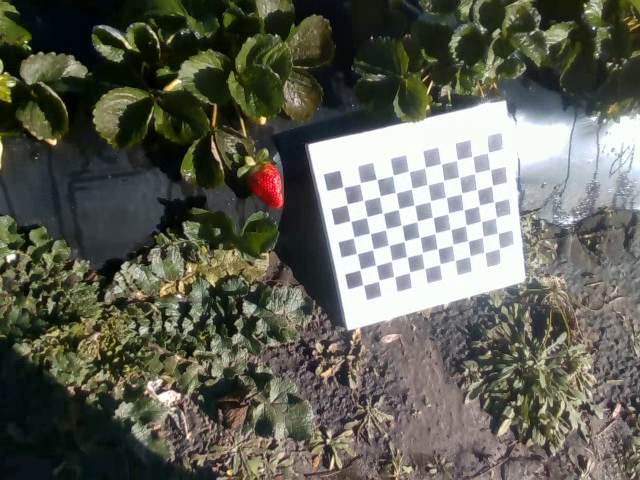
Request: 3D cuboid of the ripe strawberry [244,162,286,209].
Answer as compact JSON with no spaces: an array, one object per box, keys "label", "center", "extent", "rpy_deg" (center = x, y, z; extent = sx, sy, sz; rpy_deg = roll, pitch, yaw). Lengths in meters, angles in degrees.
[{"label":"ripe strawberry","center":[-0.068,-0.067,0.660],"extent":[0.048,0.069,0.040],"rpy_deg":[-31,10,-3]}]
